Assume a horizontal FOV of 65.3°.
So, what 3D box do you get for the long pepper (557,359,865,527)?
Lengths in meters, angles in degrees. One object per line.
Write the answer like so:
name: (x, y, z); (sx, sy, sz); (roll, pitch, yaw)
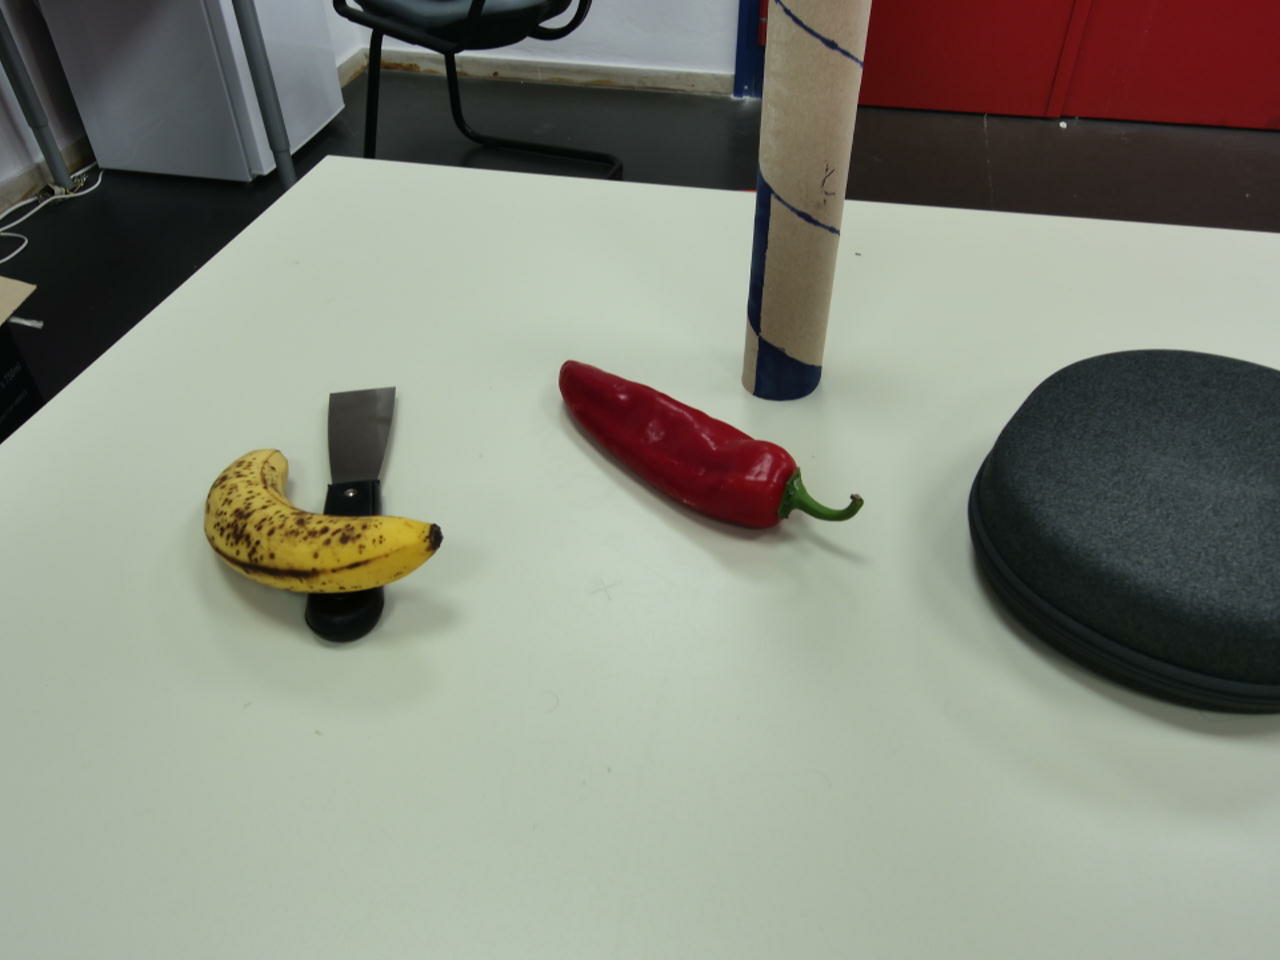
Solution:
long pepper: (0.023, -0.019, 0.533); (0.211, 0.043, 0.050); (32, 49, 34)
